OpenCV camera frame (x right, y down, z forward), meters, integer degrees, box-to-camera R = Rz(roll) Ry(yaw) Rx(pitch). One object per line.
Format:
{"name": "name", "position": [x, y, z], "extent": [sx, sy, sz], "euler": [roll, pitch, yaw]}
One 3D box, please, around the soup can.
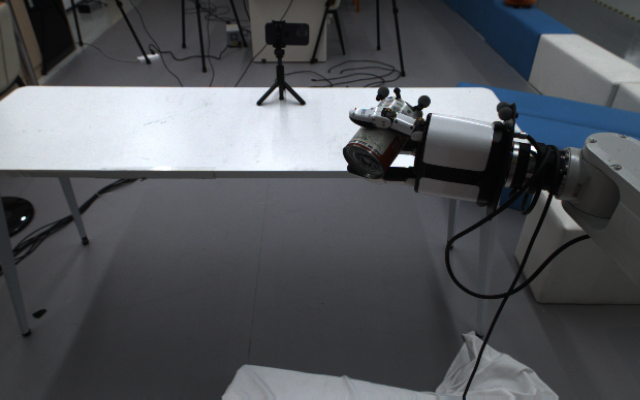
{"name": "soup can", "position": [0.088, -0.090, 0.690], "extent": [0.067, 0.067, 0.101], "euler": [26, 66, 30]}
